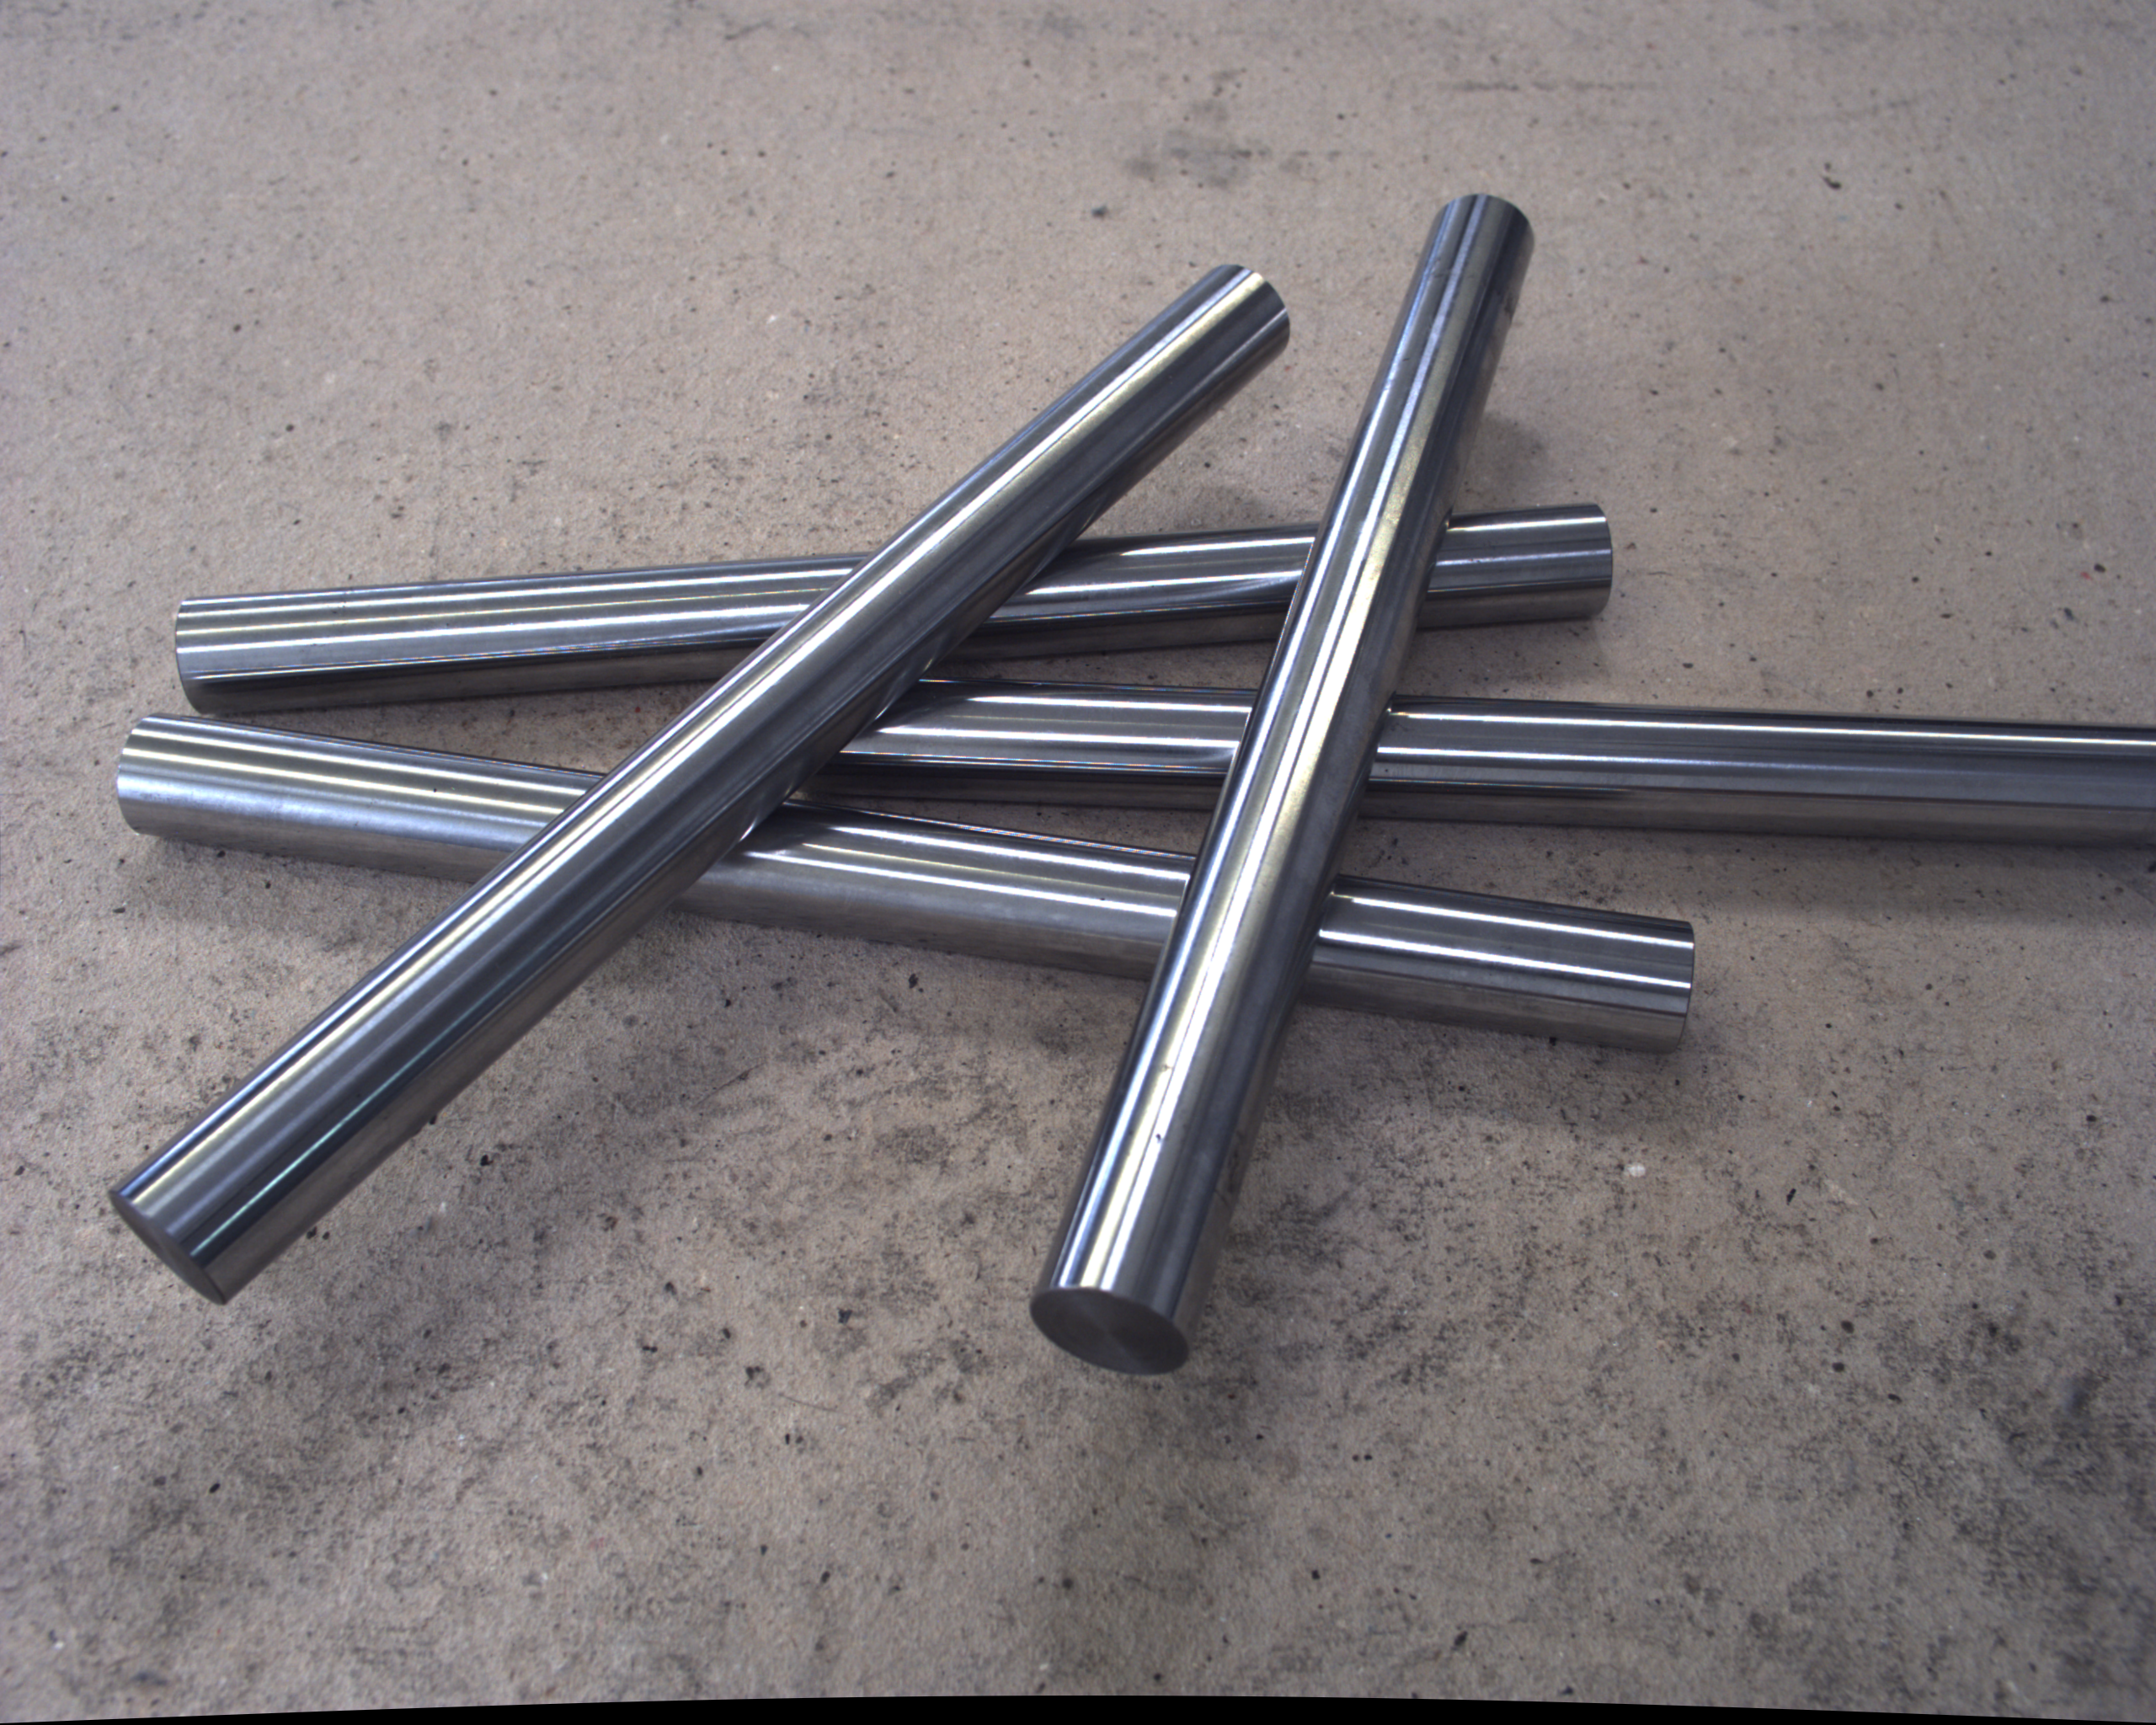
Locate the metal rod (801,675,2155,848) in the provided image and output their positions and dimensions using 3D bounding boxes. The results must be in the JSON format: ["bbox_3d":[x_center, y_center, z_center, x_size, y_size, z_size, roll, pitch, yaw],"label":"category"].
[{"bbox_3d":[0.094,-0.021,0.422,0.302,0.025,0.025,2,50,2],"label":"metal rod"}]

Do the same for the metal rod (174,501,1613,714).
[{"bbox_3d":[-0.036,-0.056,0.451,0.302,0.025,0.025,-5,50,-4],"label":"metal rod"}]

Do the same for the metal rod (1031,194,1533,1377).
[{"bbox_3d":[0.051,-0.039,0.405,0.025,0.025,0.300,14,51,11],"label":"metal rod"}]

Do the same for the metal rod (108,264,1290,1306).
[{"bbox_3d":[-0.051,-0.033,0.400,0.025,0.025,0.301,29,56,22],"label":"metal rod"}]

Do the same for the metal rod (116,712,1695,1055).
[{"bbox_3d":[-0.037,0.003,0.402,0.302,0.025,0.025,8,51,6],"label":"metal rod"}]
